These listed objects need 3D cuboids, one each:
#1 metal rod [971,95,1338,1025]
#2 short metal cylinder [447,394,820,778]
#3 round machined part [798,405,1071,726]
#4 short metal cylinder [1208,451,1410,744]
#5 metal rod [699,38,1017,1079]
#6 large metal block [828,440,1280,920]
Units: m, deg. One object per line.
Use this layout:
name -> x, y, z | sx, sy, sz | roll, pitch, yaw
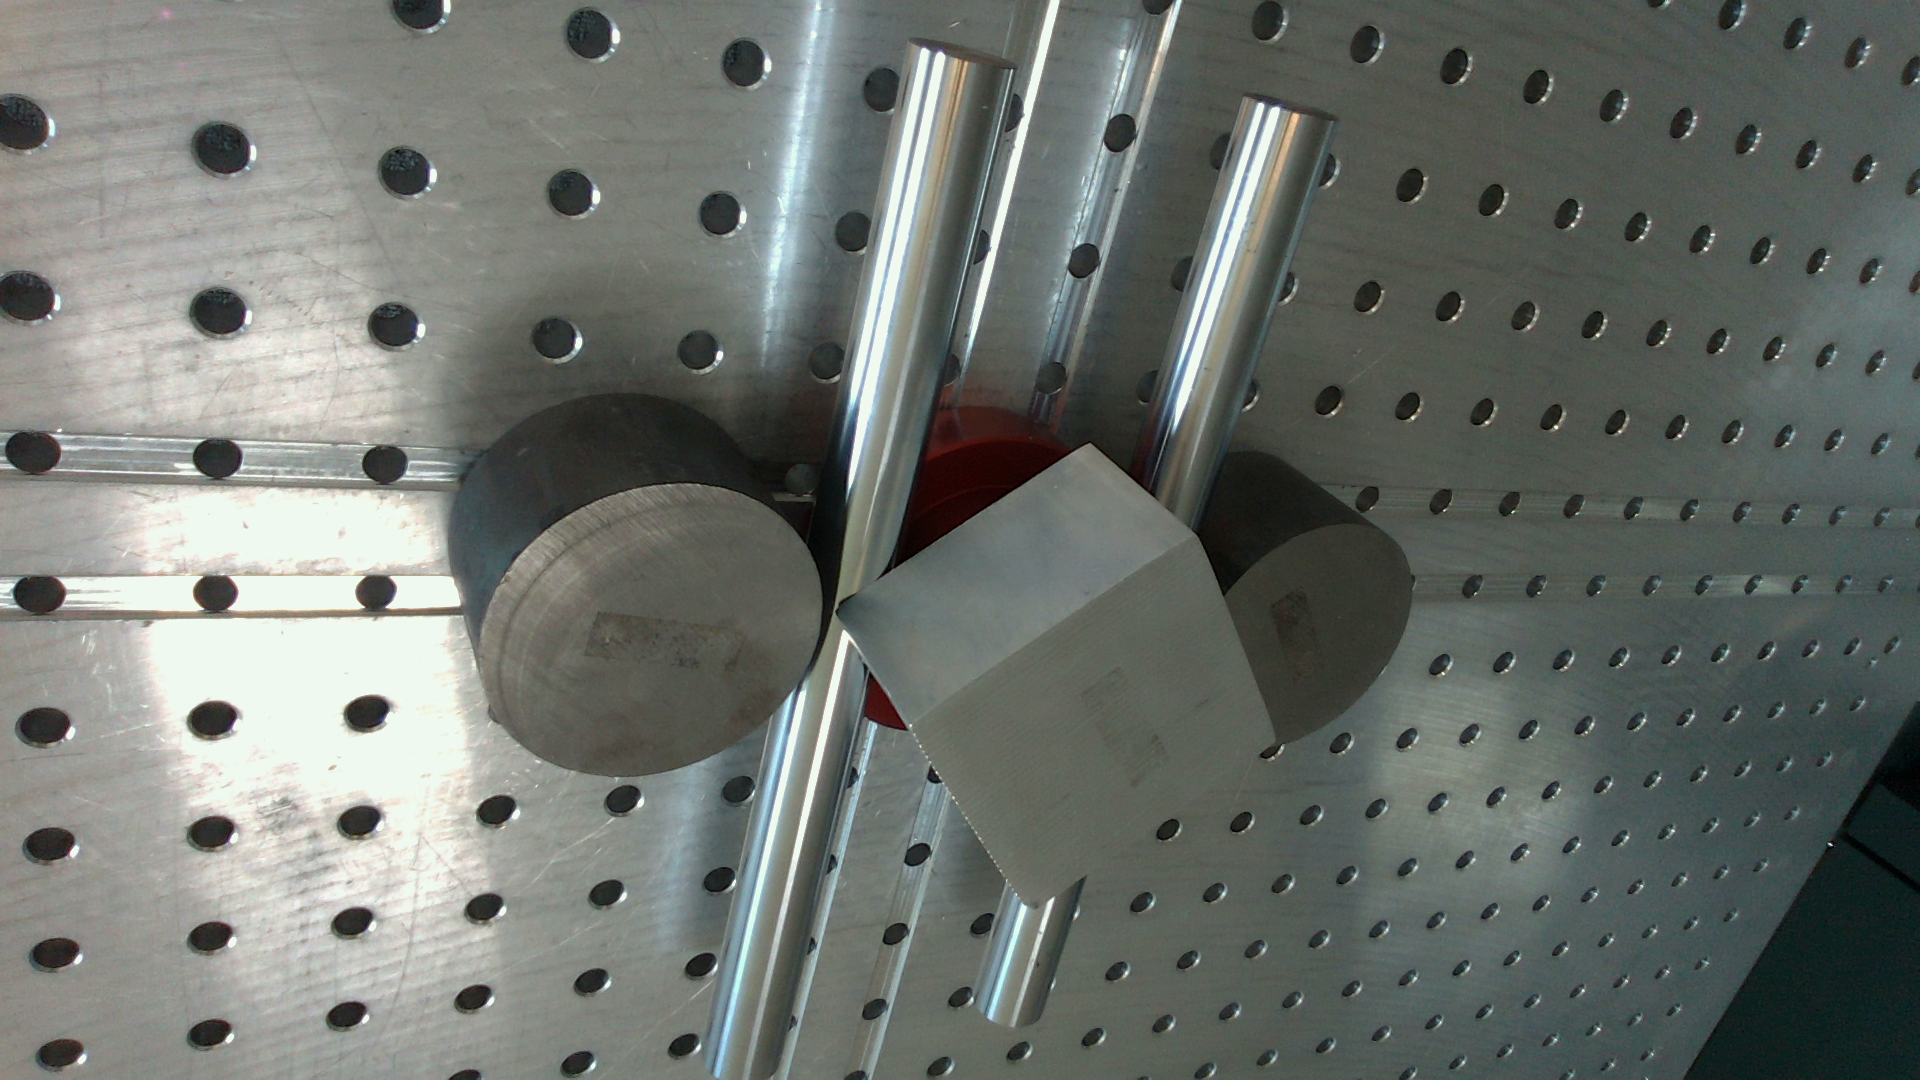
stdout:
metal rod -> 0.049, 0.024, 0.406 | 0.025, 0.025, 0.300 | 0, 118, -28
short metal cylinder -> -0.081, 0.011, 0.339 | 0.080, 0.050, 0.080 | -14, 124, -21
round machined part -> 0.003, 0.015, 0.393 | 0.098, 0.042, 0.098 | -14, 124, -21
short metal cylinder -> 0.094, 0.019, 0.438 | 0.080, 0.050, 0.080 | -14, 124, -21
metal rod -> -0.034, 0.026, 0.363 | 0.025, 0.025, 0.300 | 0, 118, -28
large metal block -> 0.026, 0.036, 0.351 | 0.080, 0.050, 0.080 | -33, 129, -6
